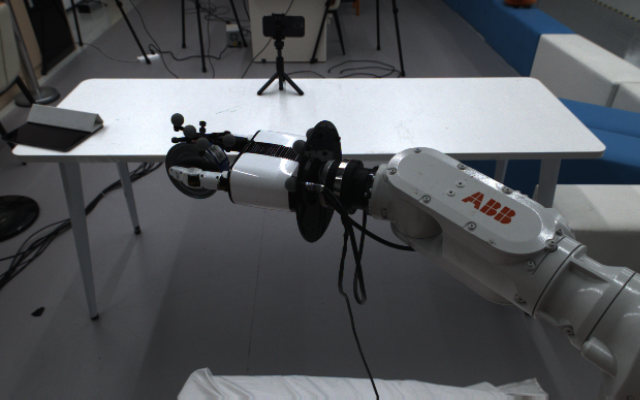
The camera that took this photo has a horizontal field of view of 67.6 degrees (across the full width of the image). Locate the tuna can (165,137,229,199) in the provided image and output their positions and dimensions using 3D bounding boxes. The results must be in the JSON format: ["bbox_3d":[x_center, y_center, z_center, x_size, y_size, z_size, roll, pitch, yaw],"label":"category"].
[{"bbox_3d":[-0.171,-0.045,0.684,0.085,0.085,0.034,12,29,15],"label":"tuna can"}]
